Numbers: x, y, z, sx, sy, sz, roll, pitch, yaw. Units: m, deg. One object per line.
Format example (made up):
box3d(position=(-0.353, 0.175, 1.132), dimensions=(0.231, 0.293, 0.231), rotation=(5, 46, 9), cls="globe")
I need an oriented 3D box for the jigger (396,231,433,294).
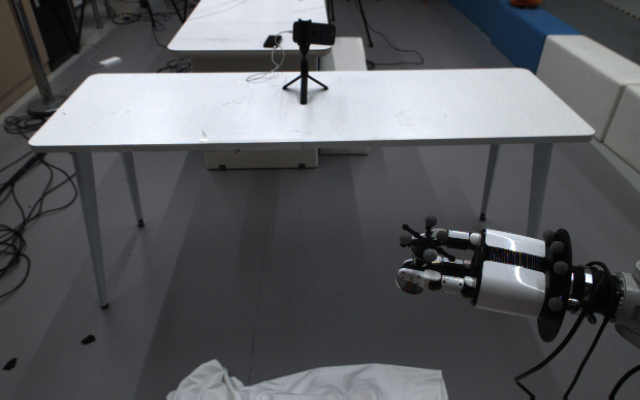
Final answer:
box3d(position=(0.142, 0.099, 0.718), dimensions=(0.043, 0.071, 0.043), rotation=(10, 36, -7), cls="jigger")
